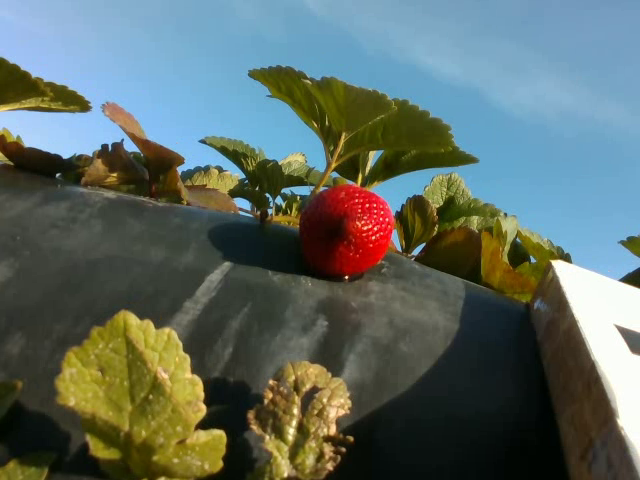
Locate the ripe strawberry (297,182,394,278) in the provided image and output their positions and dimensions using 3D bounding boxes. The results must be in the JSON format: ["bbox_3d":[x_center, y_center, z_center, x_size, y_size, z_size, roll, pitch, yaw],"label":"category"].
[{"bbox_3d":[0.010,-0.004,0.206,0.040,0.037,0.044,14,6,-10],"label":"ripe strawberry"}]
